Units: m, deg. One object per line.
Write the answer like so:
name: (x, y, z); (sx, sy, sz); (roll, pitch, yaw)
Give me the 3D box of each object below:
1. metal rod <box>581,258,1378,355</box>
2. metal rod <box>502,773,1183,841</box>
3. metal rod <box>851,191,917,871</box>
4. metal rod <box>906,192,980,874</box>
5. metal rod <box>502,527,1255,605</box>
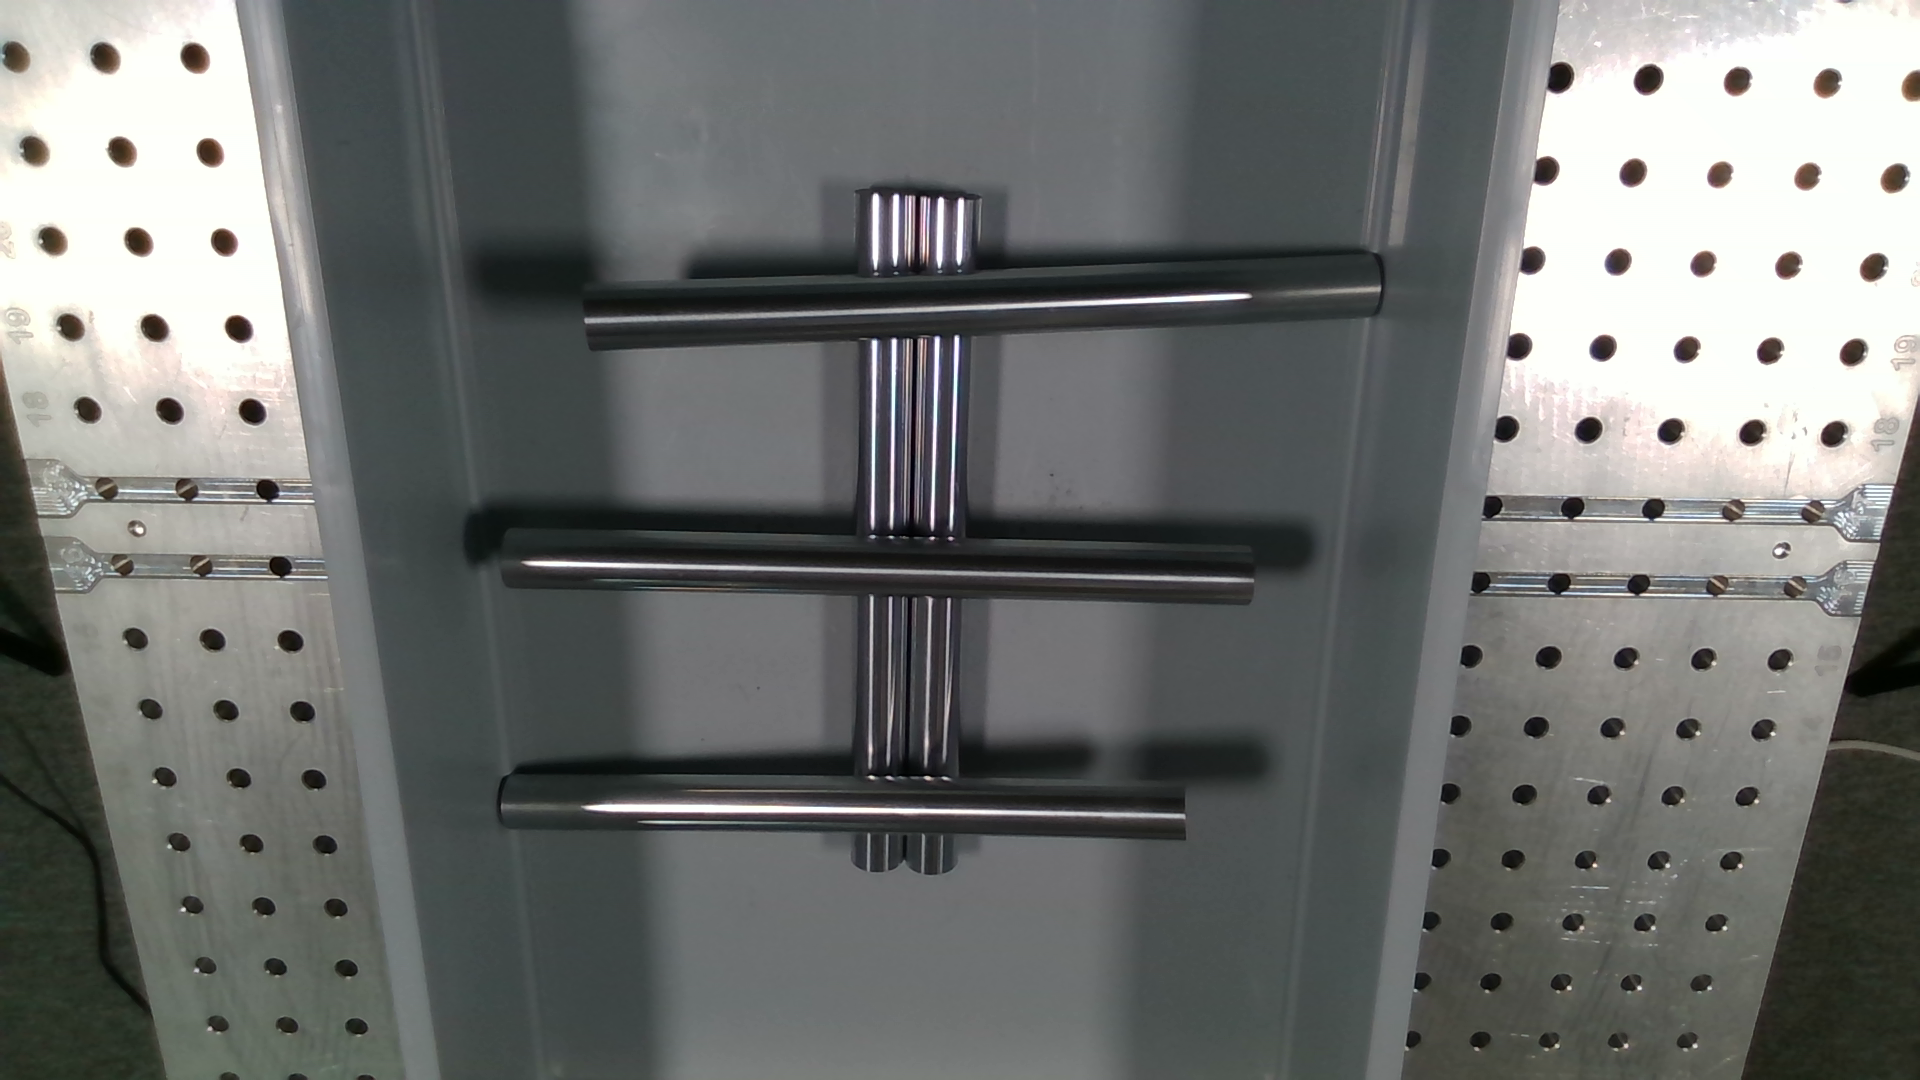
metal rod: (0.011, -0.090, 0.525); (0.300, 0.025, 0.025); (-4, 110, -7)
metal rod: (-0.054, 0.116, 0.603); (0.300, 0.025, 0.025); (-1, 110, 9)
metal rod: (-0.034, 0.006, 0.586); (0.025, 0.025, 0.301); (2, 110, -1)
metal rod: (-0.009, 0.007, 0.587); (0.025, 0.025, 0.301); (2, 110, -1)
metal rod: (-0.032, 0.011, 0.561); (0.300, 0.025, 0.025); (1, 110, 0)
